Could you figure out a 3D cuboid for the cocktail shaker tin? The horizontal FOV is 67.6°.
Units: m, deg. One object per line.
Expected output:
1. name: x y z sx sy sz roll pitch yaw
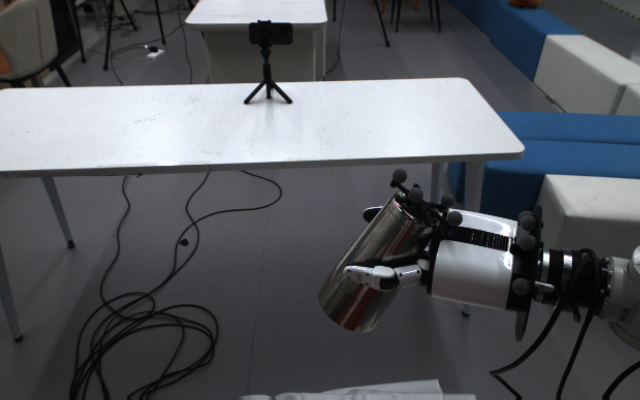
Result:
1. cocktail shaker tin: 0.077 0.072 0.612 0.093 0.170 0.093 25 29 -15
